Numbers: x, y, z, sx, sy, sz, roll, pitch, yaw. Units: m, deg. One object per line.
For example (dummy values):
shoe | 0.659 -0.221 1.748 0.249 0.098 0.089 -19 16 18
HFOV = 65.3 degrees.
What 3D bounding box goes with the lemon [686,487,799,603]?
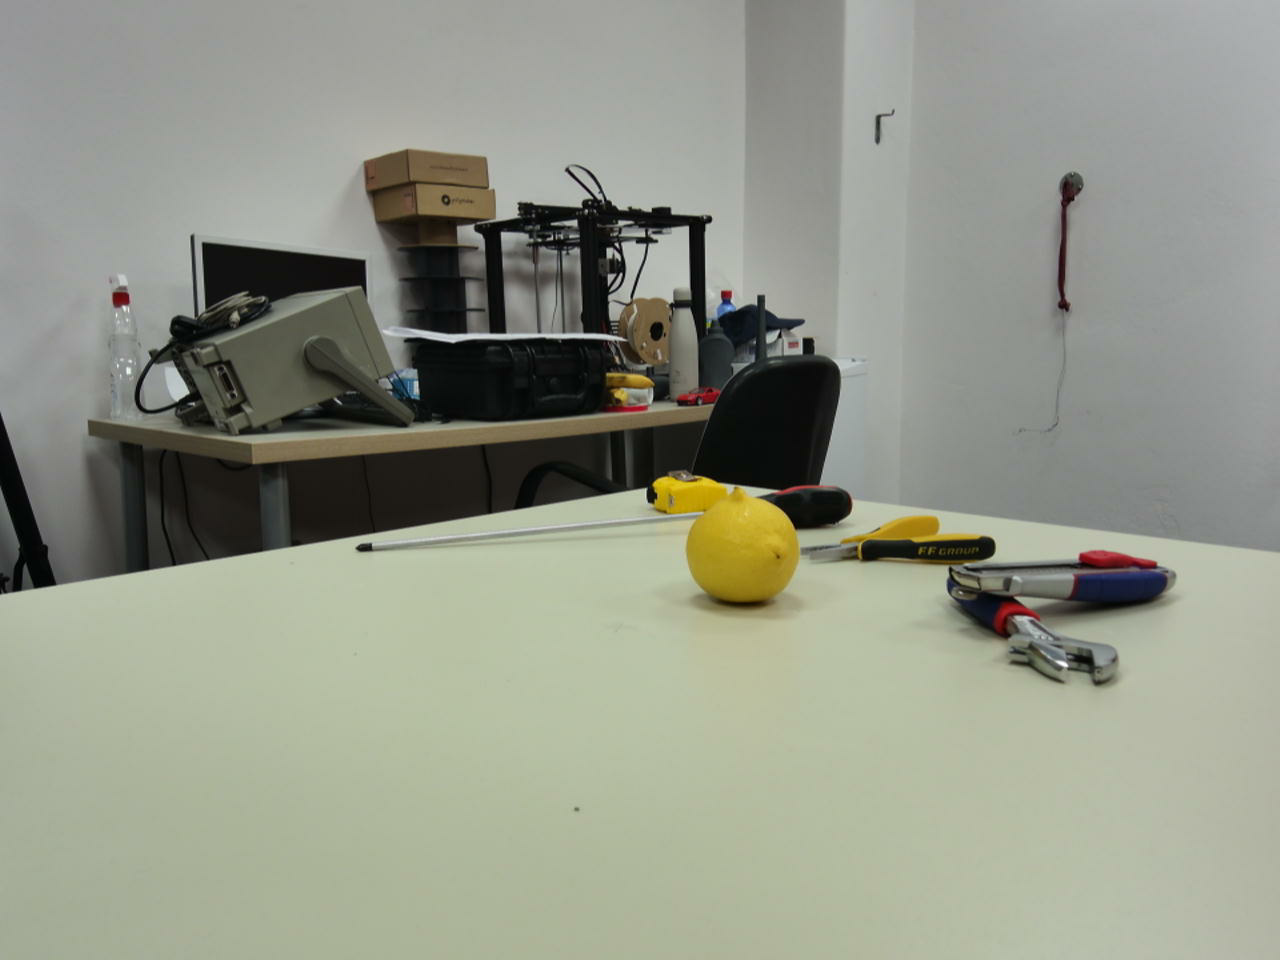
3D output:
lemon | 0.063 0.040 0.622 0.070 0.071 0.071 1 7 13
